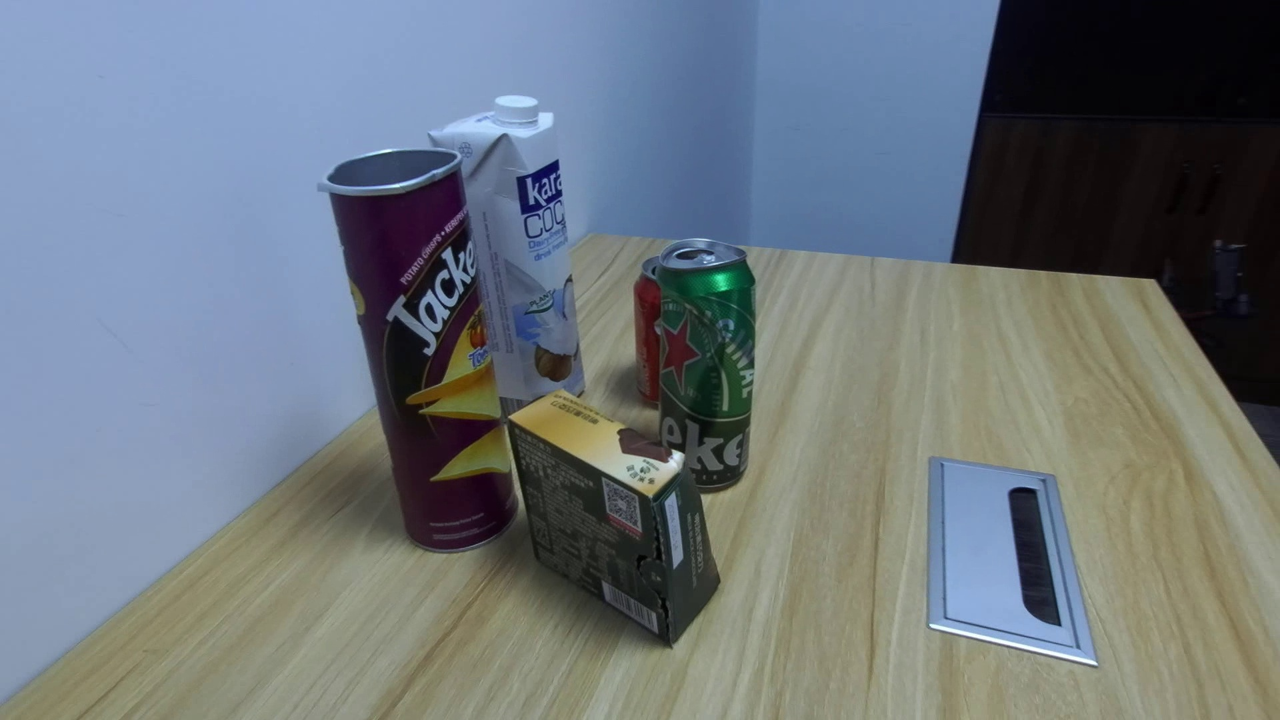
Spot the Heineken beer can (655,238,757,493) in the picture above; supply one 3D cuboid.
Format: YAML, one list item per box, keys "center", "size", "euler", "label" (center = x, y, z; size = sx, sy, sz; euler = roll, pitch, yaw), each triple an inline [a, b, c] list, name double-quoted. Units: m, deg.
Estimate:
- center: [0.042, 0.007, 0.472]
  size: [0.066, 0.164, 0.077]
  euler: [2, 25, 10]
  label: "Heineken beer can"

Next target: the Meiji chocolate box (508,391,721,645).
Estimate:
- center: [-0.012, 0.082, 0.397]
  size: [0.112, 0.111, 0.058]
  euler: [21, 40, 37]
  label: "Meiji chocolate box"

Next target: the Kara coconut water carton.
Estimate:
- center: [-0.094, -0.068, 0.536]
  size: [0.075, 0.245, 0.077]
  euler: [7, 30, 20]
  label: "Kara coconut water carton"

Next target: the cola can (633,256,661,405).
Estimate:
- center: [0.032, -0.025, 0.567]
  size: [0.072, 0.117, 0.065]
  euler: [-16, 32, -17]
  label: "cola can"

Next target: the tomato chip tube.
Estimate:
- center: [-0.125, 0.001, 0.427]
  size: [0.076, 0.234, 0.080]
  euler: [16, 34, 32]
  label: "tomato chip tube"
